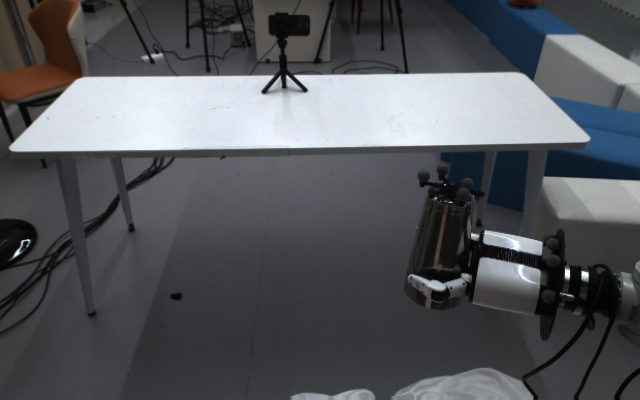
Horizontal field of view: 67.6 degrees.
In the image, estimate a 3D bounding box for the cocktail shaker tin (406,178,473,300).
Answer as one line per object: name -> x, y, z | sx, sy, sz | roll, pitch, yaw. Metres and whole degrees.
cocktail shaker tin -> 0.181, 0.064, 0.715 | 0.093, 0.170, 0.093 | 1, 28, -1
